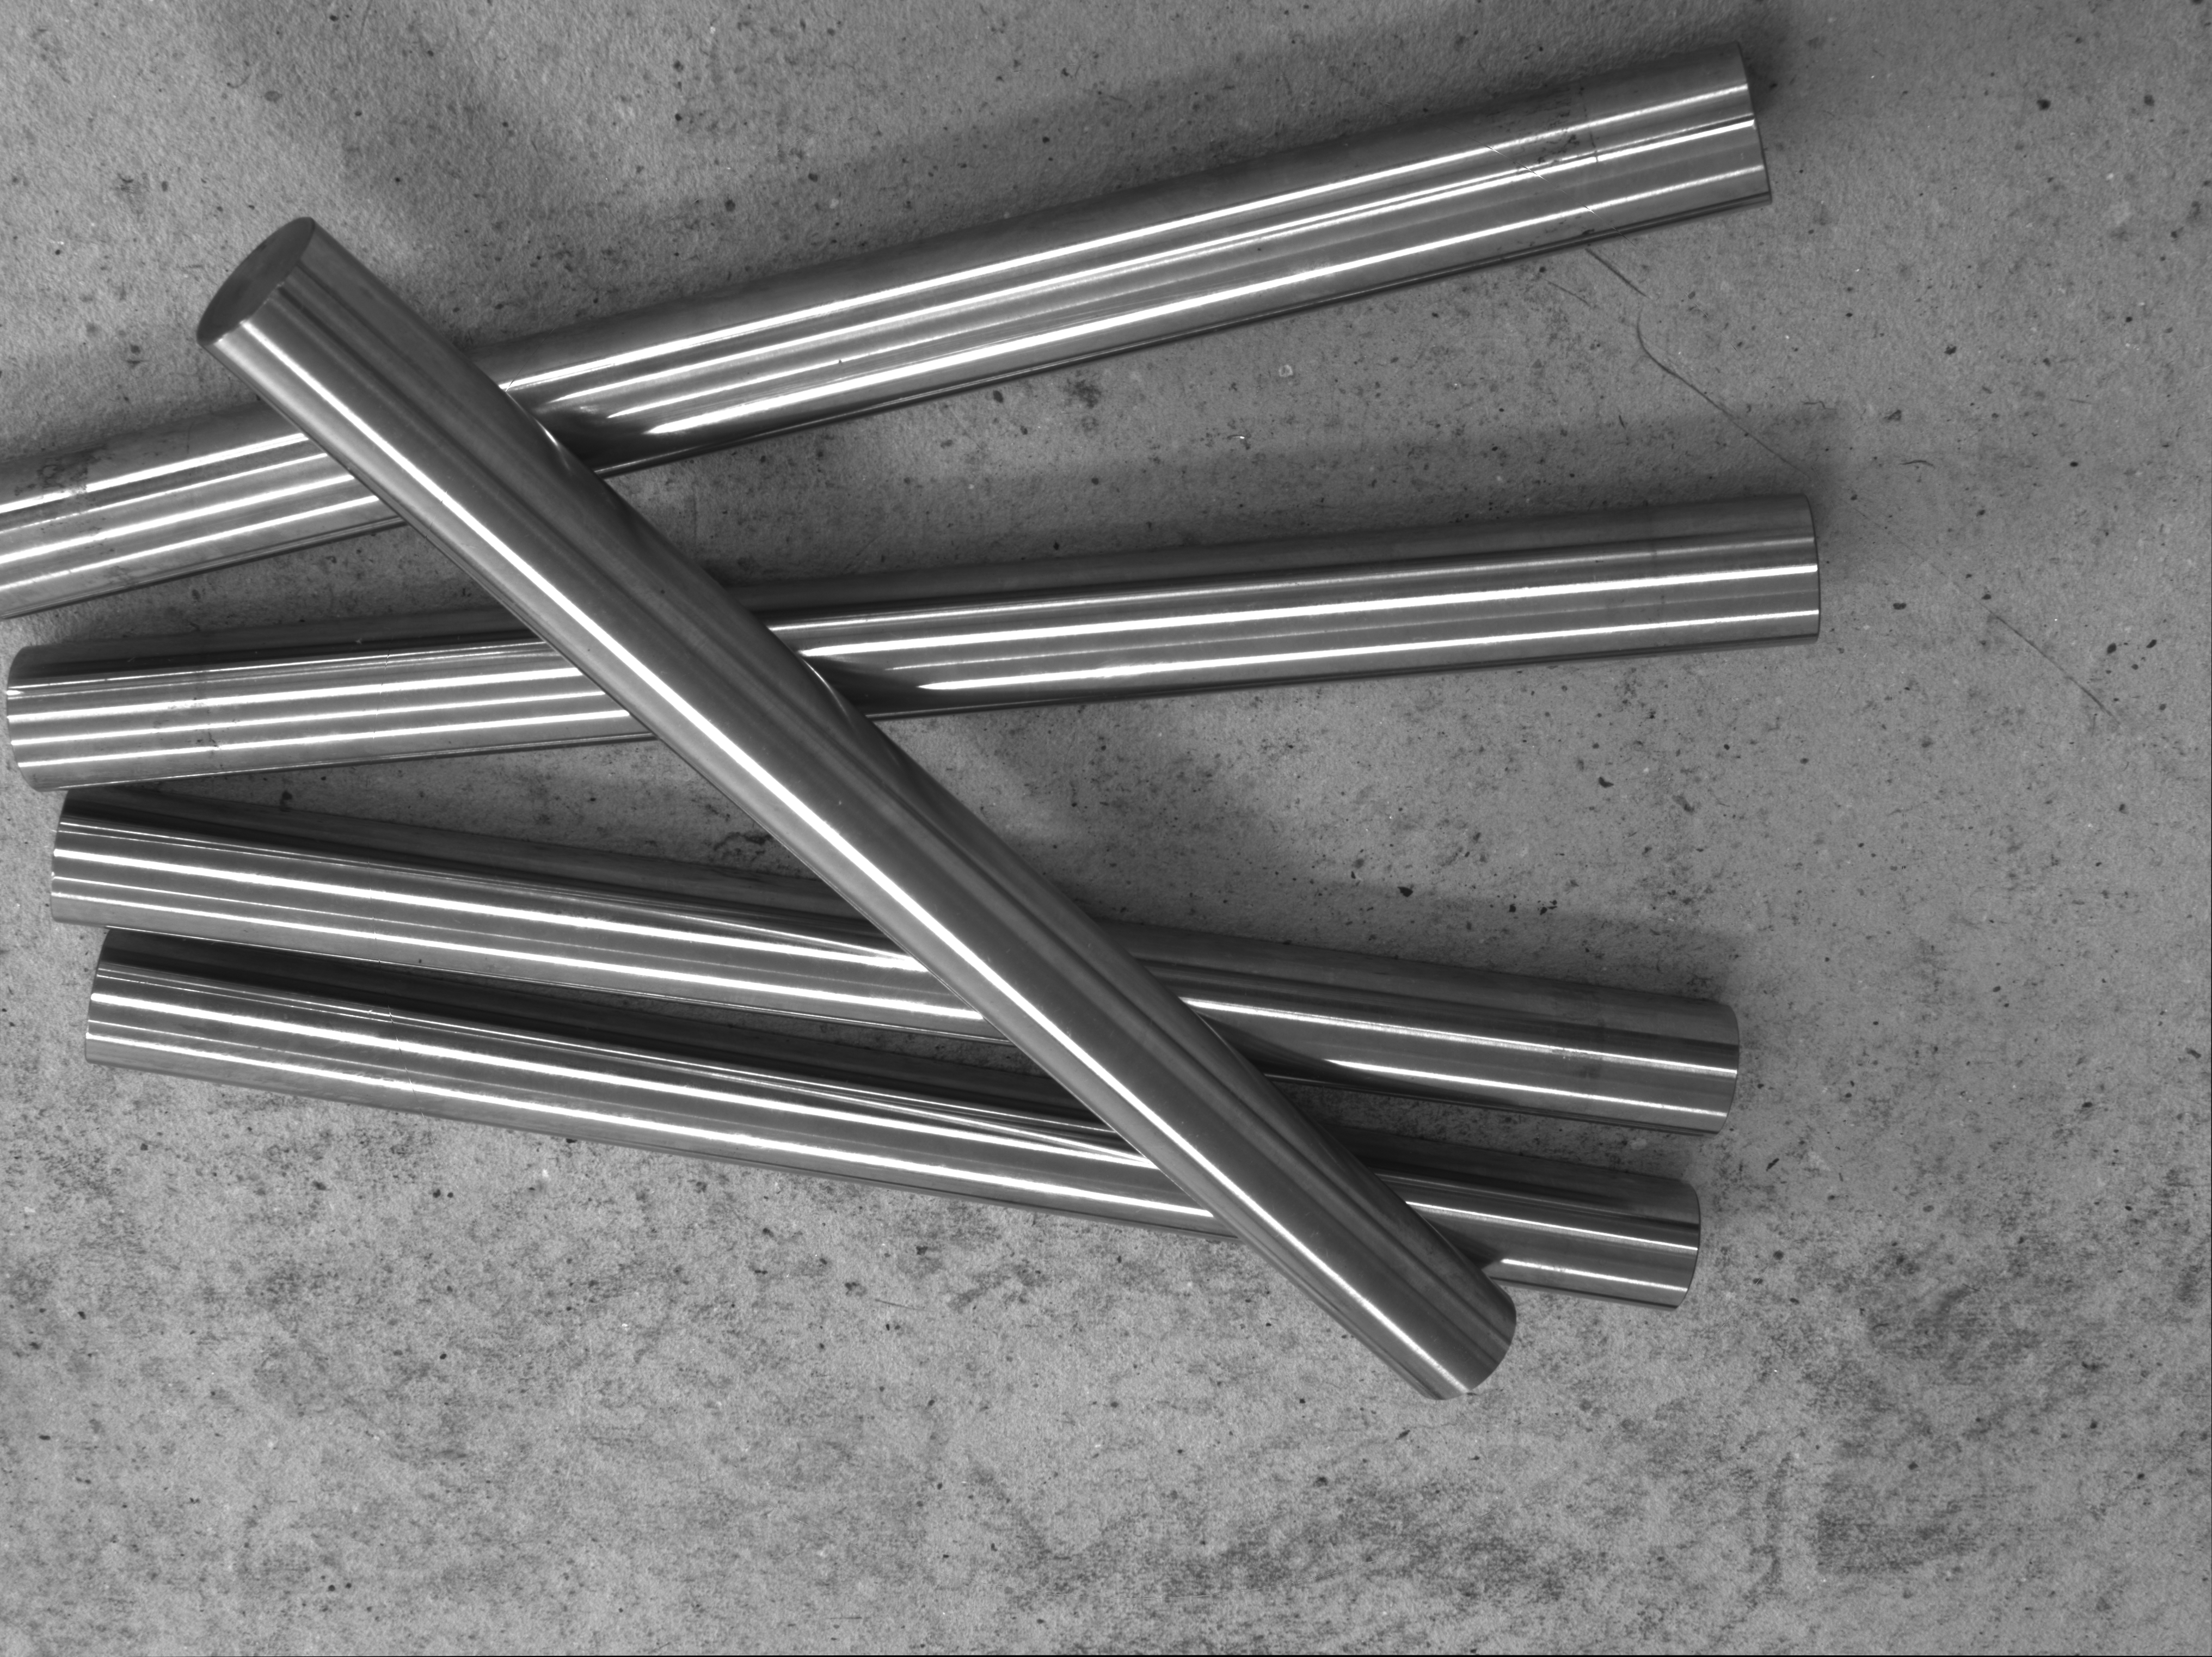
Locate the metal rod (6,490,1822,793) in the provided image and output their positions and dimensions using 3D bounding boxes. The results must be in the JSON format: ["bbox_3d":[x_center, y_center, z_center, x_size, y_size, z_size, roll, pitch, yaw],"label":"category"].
[{"bbox_3d":[-0.033,-0.031,0.614,0.300,0.025,0.025,-5,130,4],"label":"metal rod"}]

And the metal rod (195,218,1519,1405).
[{"bbox_3d":[-0.029,0.008,0.613,0.025,0.025,0.301,-33,123,24],"label":"metal rod"}]

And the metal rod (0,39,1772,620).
[{"bbox_3d":[-0.047,-0.076,0.577,0.300,0.025,0.025,-12,129,10],"label":"metal rod"}]

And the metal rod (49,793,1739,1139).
[{"bbox_3d":[-0.035,0.025,0.660,0.300,0.025,0.025,8,130,-7],"label":"metal rod"}]

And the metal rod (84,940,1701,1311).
[{"bbox_3d":[-0.036,0.055,0.685,0.300,0.025,0.025,10,129,-8],"label":"metal rod"}]
